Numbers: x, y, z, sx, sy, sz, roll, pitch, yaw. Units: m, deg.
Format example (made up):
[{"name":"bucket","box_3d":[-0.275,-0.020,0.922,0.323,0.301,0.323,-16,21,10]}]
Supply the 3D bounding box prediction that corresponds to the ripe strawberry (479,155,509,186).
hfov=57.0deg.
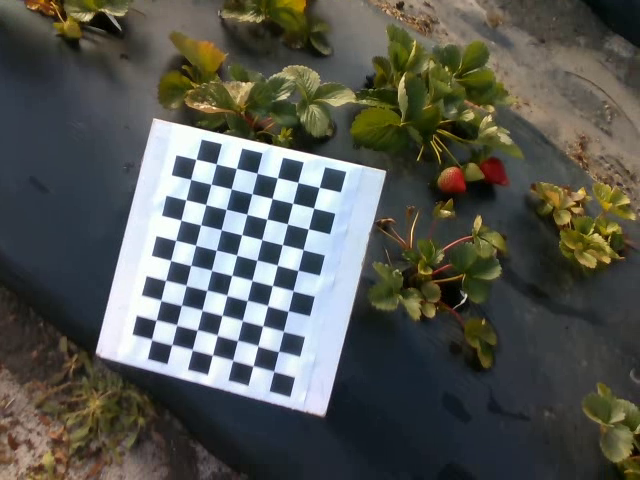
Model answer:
[{"name":"ripe strawberry","box_3d":[0.290,-0.111,0.973,0.048,0.065,0.050,-35,-10,6]}]
